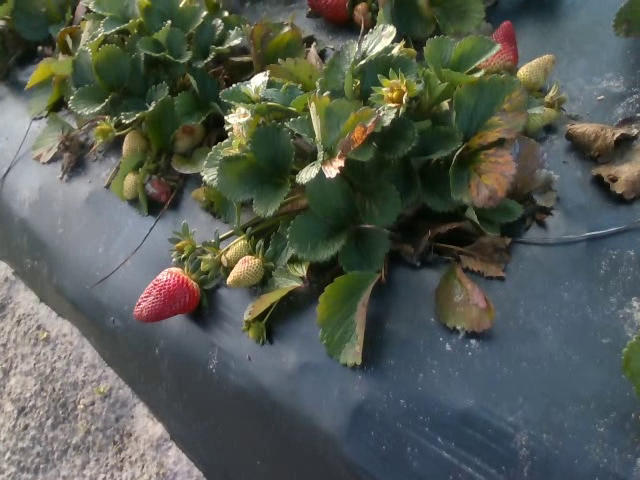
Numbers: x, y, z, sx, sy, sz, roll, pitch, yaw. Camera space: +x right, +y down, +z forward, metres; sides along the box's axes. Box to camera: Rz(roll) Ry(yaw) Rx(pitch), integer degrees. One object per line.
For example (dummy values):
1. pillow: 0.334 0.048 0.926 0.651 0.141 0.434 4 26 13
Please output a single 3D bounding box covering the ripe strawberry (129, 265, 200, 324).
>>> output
1. ripe strawberry: -0.155 0.057 0.655 0.052 0.045 0.067 33 63 33
